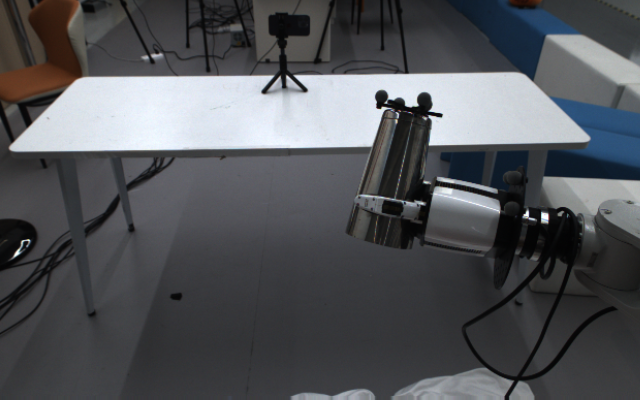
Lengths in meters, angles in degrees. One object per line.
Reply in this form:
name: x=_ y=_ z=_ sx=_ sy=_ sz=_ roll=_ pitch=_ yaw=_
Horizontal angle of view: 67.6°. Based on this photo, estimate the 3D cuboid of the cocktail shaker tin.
cocktail shaker tin: x=0.098 y=-0.029 z=0.647 sx=0.093 sy=0.170 sz=0.093 roll=13 pitch=4 yaw=-1
